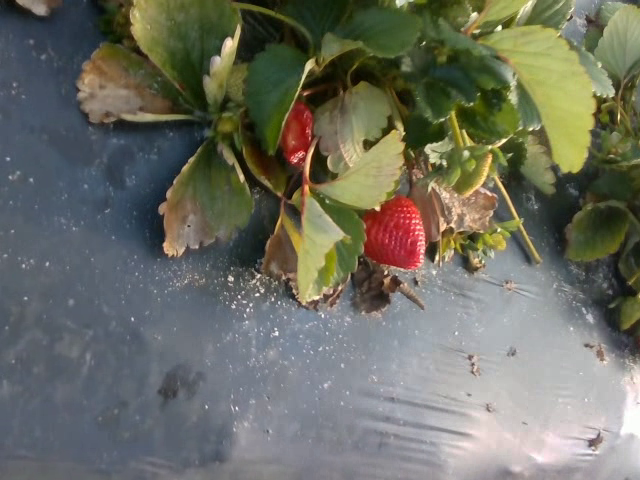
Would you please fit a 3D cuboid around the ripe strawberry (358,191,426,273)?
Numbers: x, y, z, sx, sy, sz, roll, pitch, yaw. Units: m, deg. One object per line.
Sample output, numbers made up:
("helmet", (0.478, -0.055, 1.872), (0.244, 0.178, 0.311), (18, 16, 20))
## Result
("ripe strawberry", (0.028, 0.000, 0.234), (0.032, 0.030, 0.025), (-25, -11, -25))
